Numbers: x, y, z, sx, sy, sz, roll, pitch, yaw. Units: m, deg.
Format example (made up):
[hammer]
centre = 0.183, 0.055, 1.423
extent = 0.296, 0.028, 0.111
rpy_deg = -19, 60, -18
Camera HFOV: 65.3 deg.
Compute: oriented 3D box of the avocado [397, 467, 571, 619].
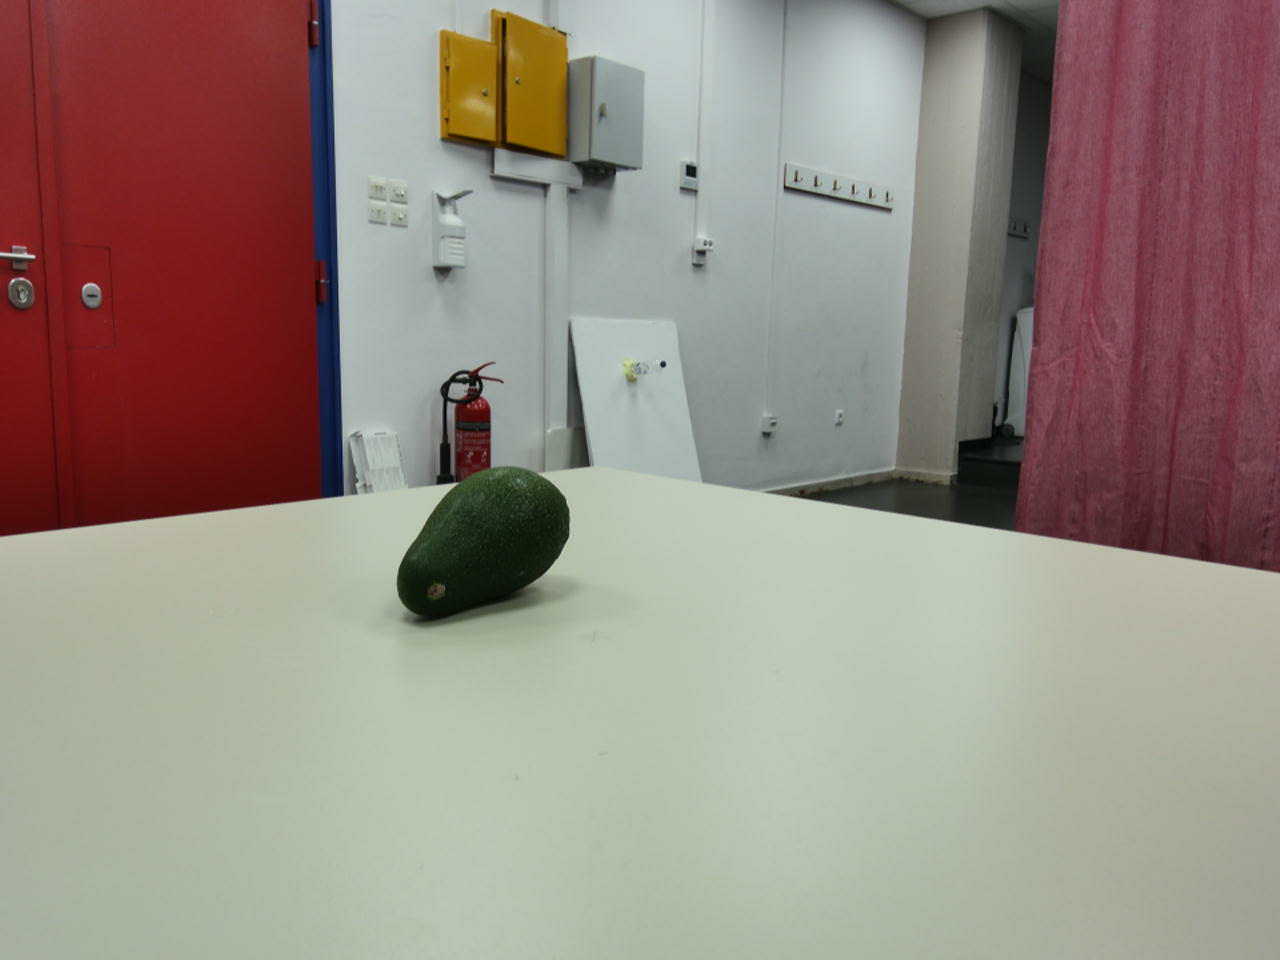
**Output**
[avocado]
centre = -0.094, 0.031, 0.583
extent = 0.123, 0.076, 0.074
rpy_deg = -5, 9, -41
